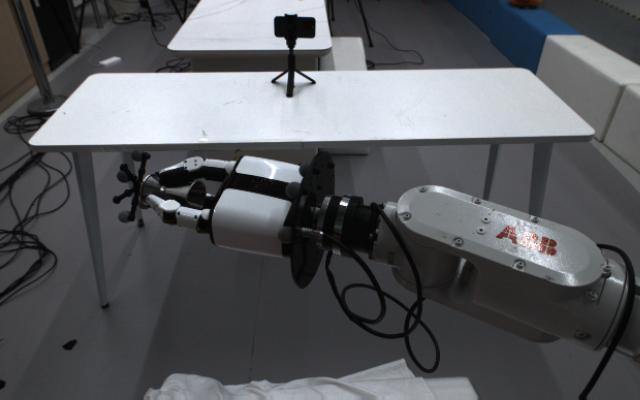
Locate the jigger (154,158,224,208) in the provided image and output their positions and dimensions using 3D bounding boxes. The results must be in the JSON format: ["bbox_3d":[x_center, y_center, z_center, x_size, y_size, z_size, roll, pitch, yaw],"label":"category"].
[{"bbox_3d":[-0.177,-0.009,0.603,0.071,0.043,0.043,11,36,15],"label":"jigger"}]
